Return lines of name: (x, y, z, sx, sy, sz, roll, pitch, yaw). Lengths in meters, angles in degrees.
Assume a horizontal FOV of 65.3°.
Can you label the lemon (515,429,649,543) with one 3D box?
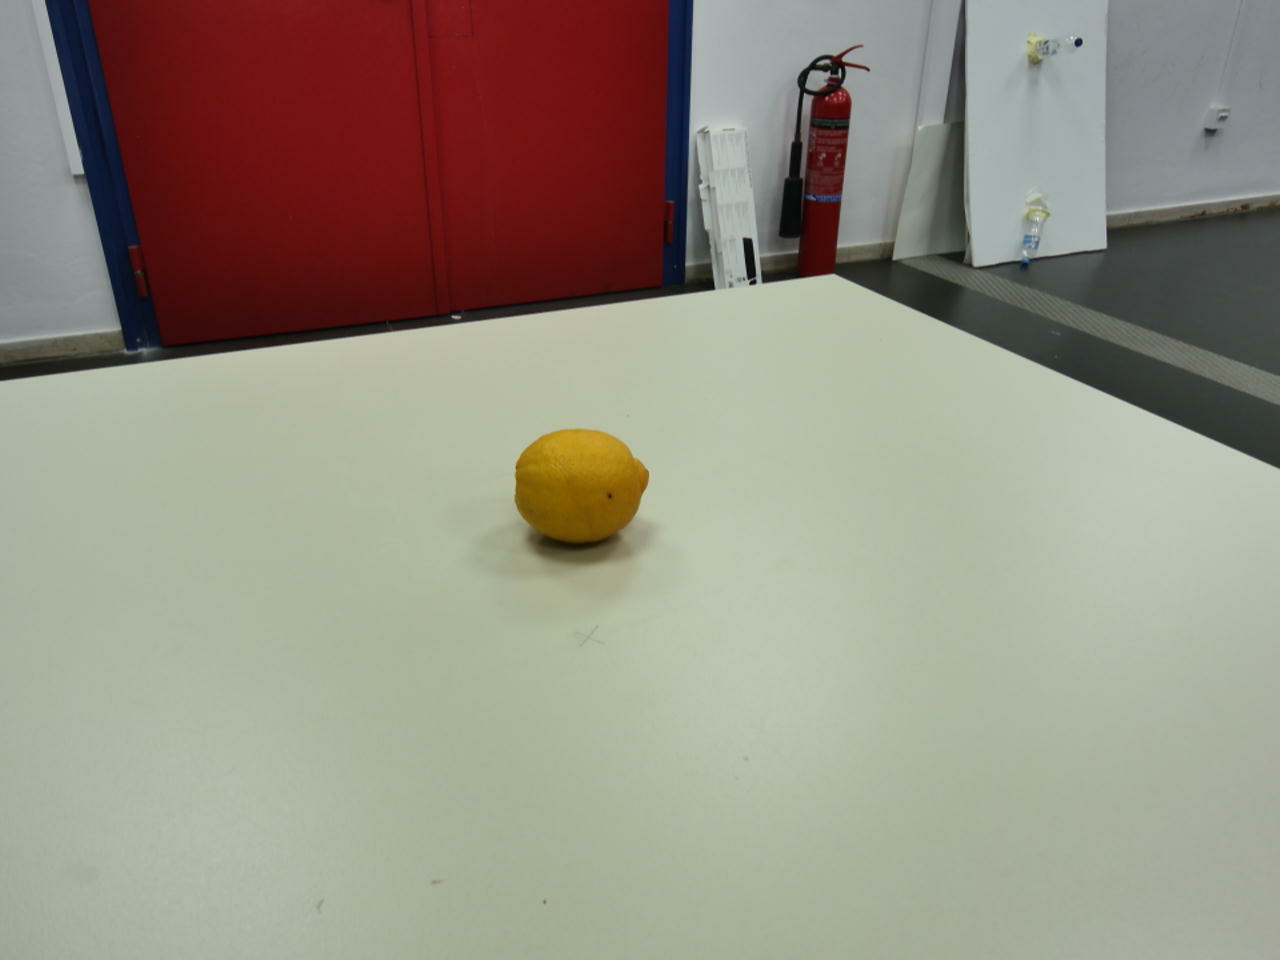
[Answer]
lemon: (-0.032, 0.004, 0.522, 0.067, 0.059, 0.060, 9, 27, 15)
